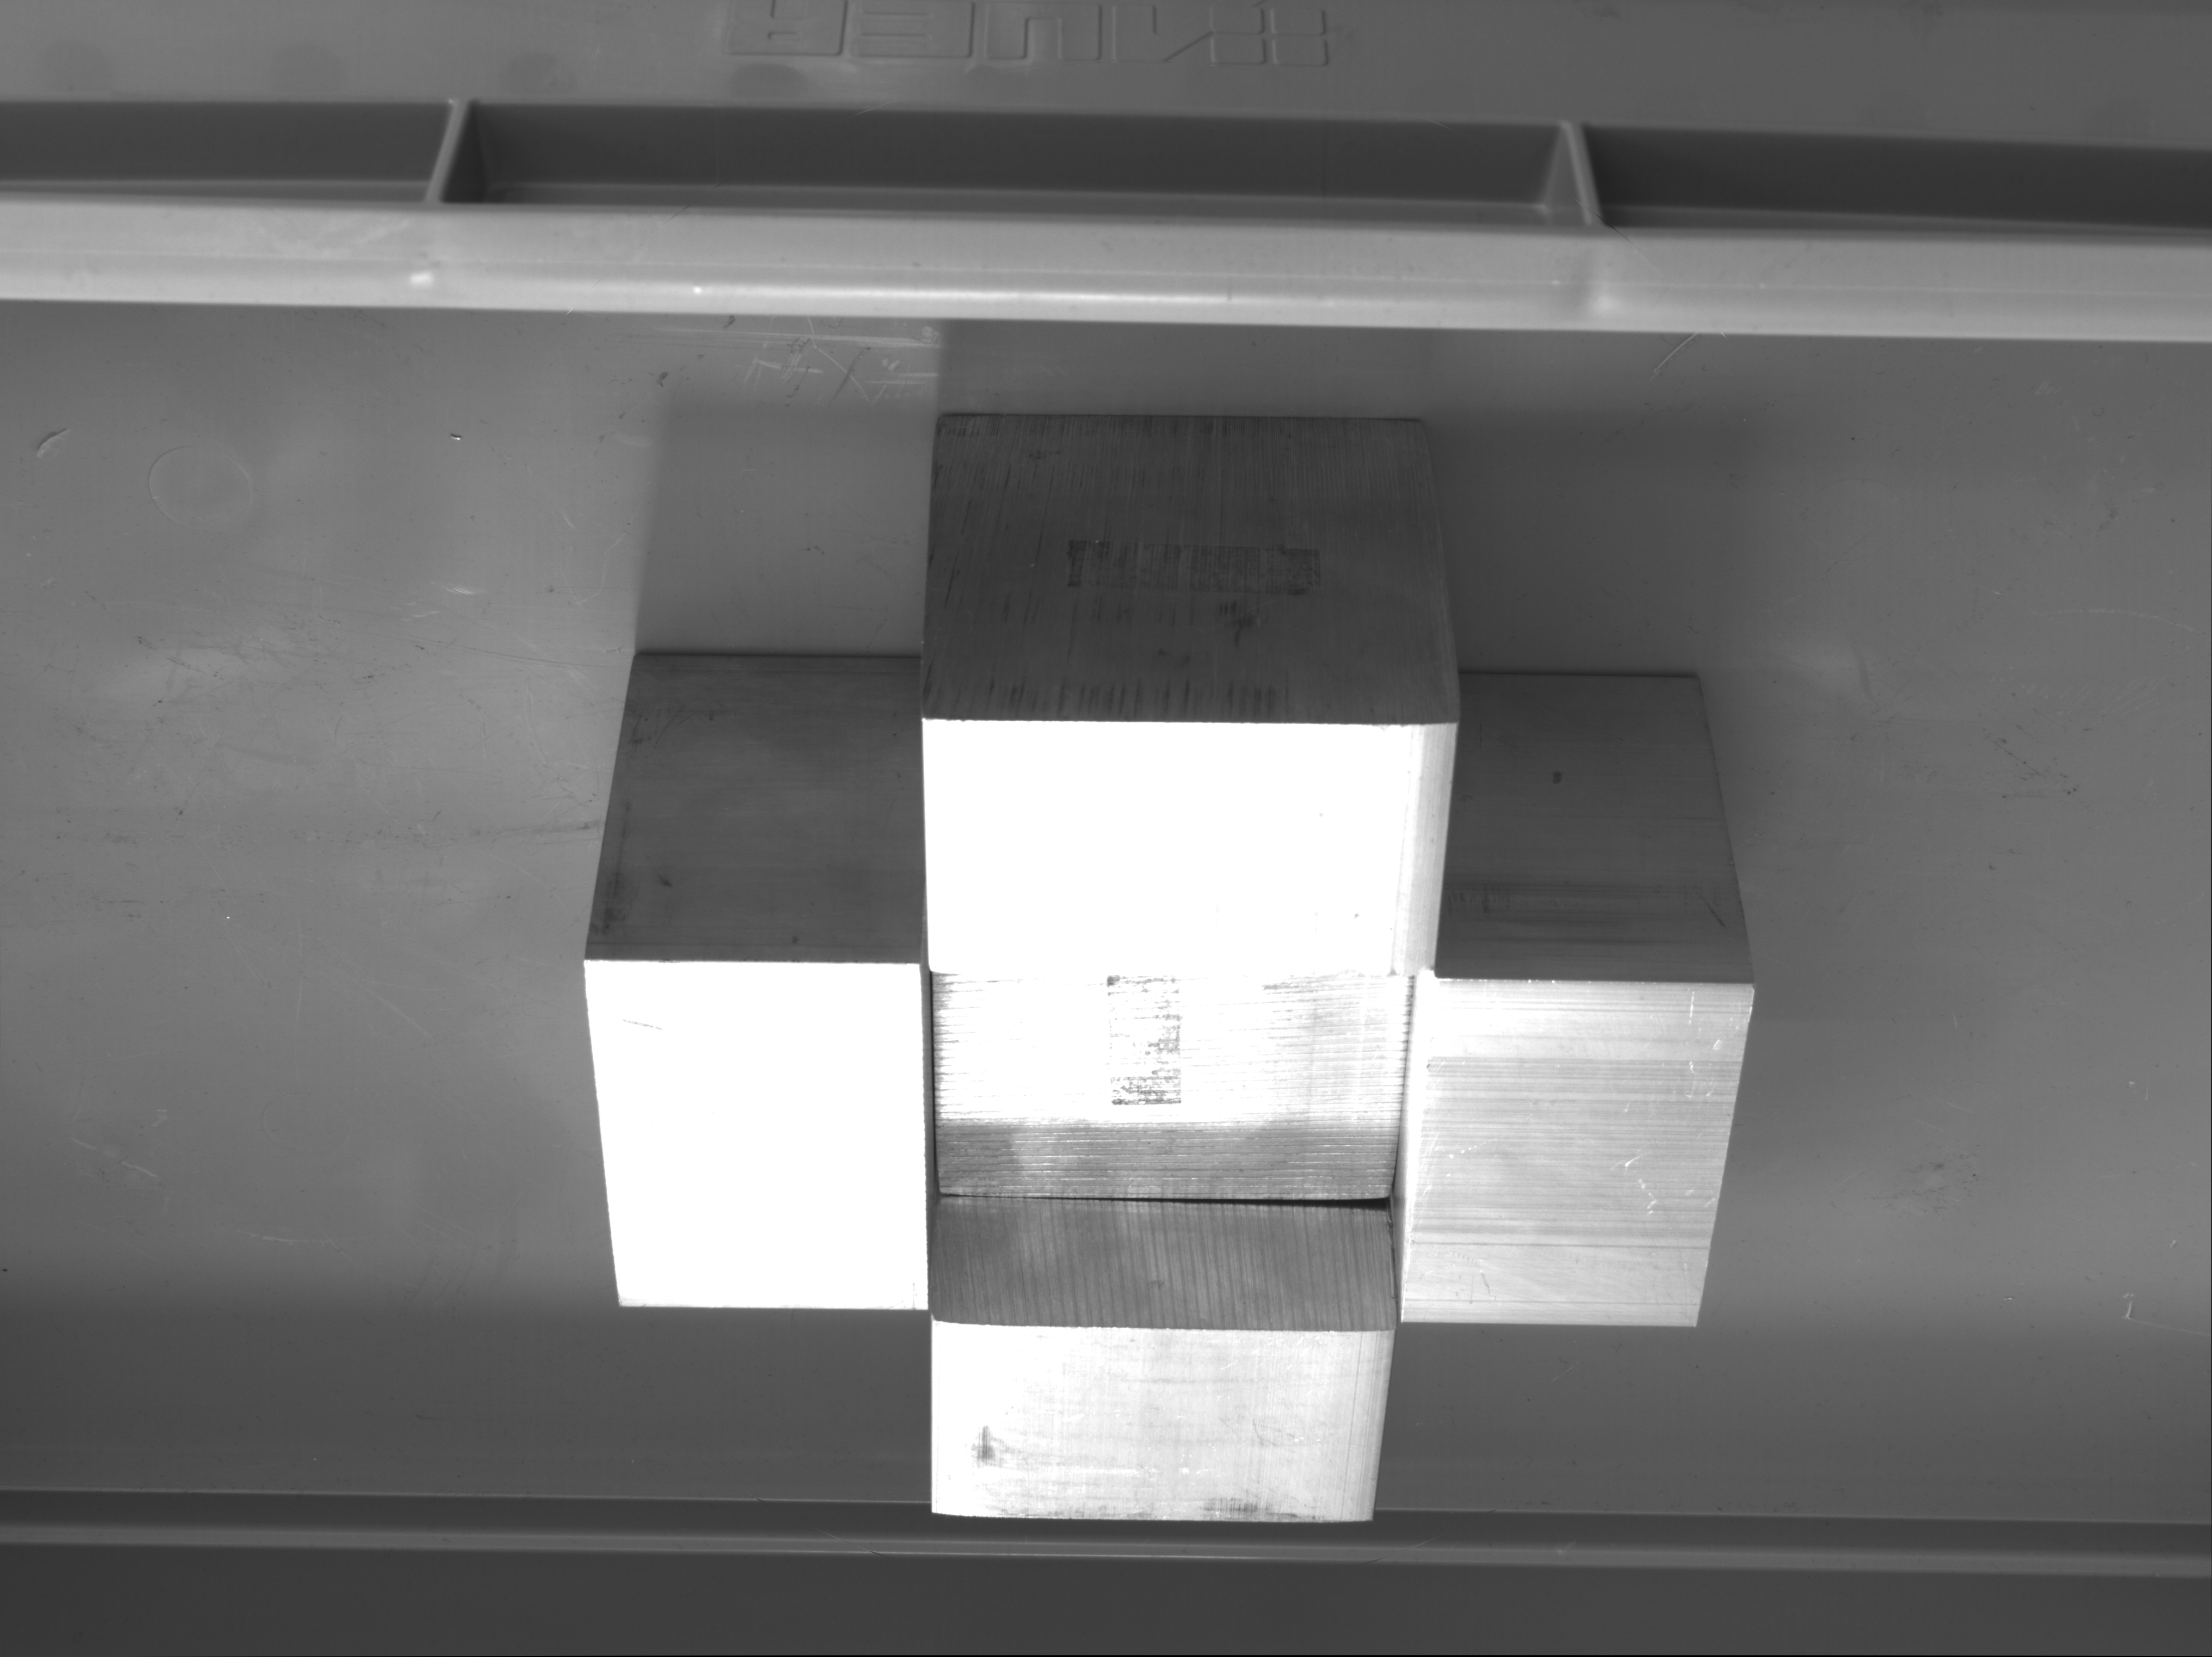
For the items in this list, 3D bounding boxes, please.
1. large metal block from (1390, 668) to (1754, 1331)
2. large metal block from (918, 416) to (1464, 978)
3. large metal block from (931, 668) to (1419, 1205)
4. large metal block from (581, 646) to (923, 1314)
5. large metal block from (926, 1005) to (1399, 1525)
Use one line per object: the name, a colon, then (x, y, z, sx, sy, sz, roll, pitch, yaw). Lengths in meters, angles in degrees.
large metal block: (0.076, 0.029, 0.627, 0.050, 0.080, 0.080, 1, 130, 0)
large metal block: (0.012, -0.022, 0.583, 0.080, 0.080, 0.050, 1, 130, 0)
large metal block: (0.011, 0.019, 0.636, 0.080, 0.050, 0.080, 0, 130, 0)
large metal block: (-0.056, 0.025, 0.624, 0.050, 0.080, 0.080, 1, 130, 0)
large metal block: (0.009, 0.078, 0.667, 0.080, 0.080, 0.050, 1, 130, -1)
